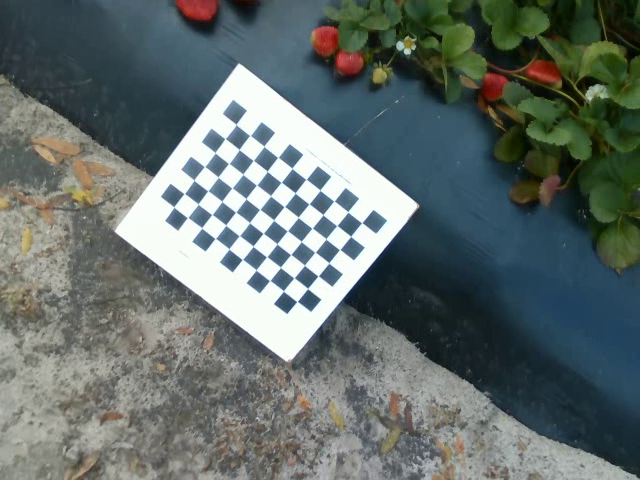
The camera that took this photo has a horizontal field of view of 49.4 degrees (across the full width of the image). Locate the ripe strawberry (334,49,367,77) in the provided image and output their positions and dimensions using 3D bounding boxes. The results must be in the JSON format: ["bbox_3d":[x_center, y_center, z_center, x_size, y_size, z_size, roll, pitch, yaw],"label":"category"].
[{"bbox_3d":[0.033,-0.238,0.907,0.043,0.041,0.049,33,36,1],"label":"ripe strawberry"}]

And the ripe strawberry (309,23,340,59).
[{"bbox_3d":[0.002,-0.267,0.918,0.053,0.047,0.038,9,15,-29],"label":"ripe strawberry"}]
